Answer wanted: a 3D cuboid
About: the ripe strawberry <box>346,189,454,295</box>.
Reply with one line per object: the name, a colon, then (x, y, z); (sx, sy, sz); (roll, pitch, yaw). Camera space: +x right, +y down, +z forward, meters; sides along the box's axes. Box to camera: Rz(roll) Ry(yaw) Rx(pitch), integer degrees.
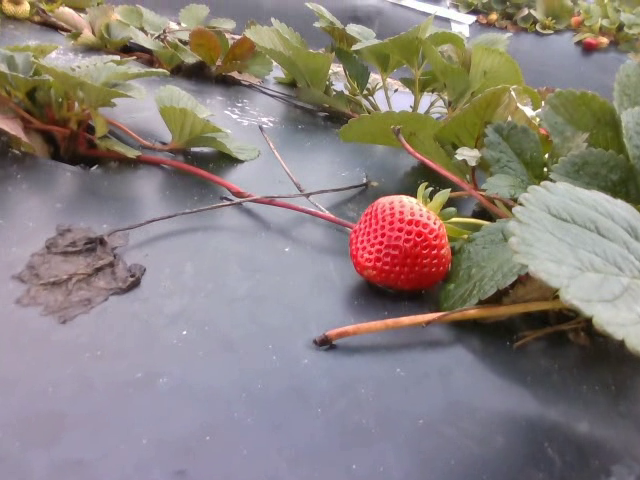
ripe strawberry: (0.038, -0.002, 0.321); (0.061, 0.064, 0.050); (37, -21, 22)
